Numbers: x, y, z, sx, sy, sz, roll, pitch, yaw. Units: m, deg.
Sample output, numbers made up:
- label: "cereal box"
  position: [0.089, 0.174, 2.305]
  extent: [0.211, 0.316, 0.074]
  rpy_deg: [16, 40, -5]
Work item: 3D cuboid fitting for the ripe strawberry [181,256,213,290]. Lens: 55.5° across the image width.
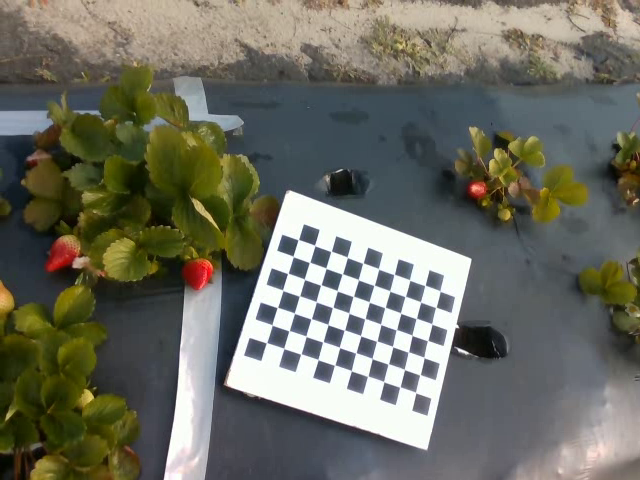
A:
- label: "ripe strawberry"
  position: [-0.146, 0.044, 0.731]
  extent: [0.050, 0.055, 0.036]
  rpy_deg: [15, -32, -17]
